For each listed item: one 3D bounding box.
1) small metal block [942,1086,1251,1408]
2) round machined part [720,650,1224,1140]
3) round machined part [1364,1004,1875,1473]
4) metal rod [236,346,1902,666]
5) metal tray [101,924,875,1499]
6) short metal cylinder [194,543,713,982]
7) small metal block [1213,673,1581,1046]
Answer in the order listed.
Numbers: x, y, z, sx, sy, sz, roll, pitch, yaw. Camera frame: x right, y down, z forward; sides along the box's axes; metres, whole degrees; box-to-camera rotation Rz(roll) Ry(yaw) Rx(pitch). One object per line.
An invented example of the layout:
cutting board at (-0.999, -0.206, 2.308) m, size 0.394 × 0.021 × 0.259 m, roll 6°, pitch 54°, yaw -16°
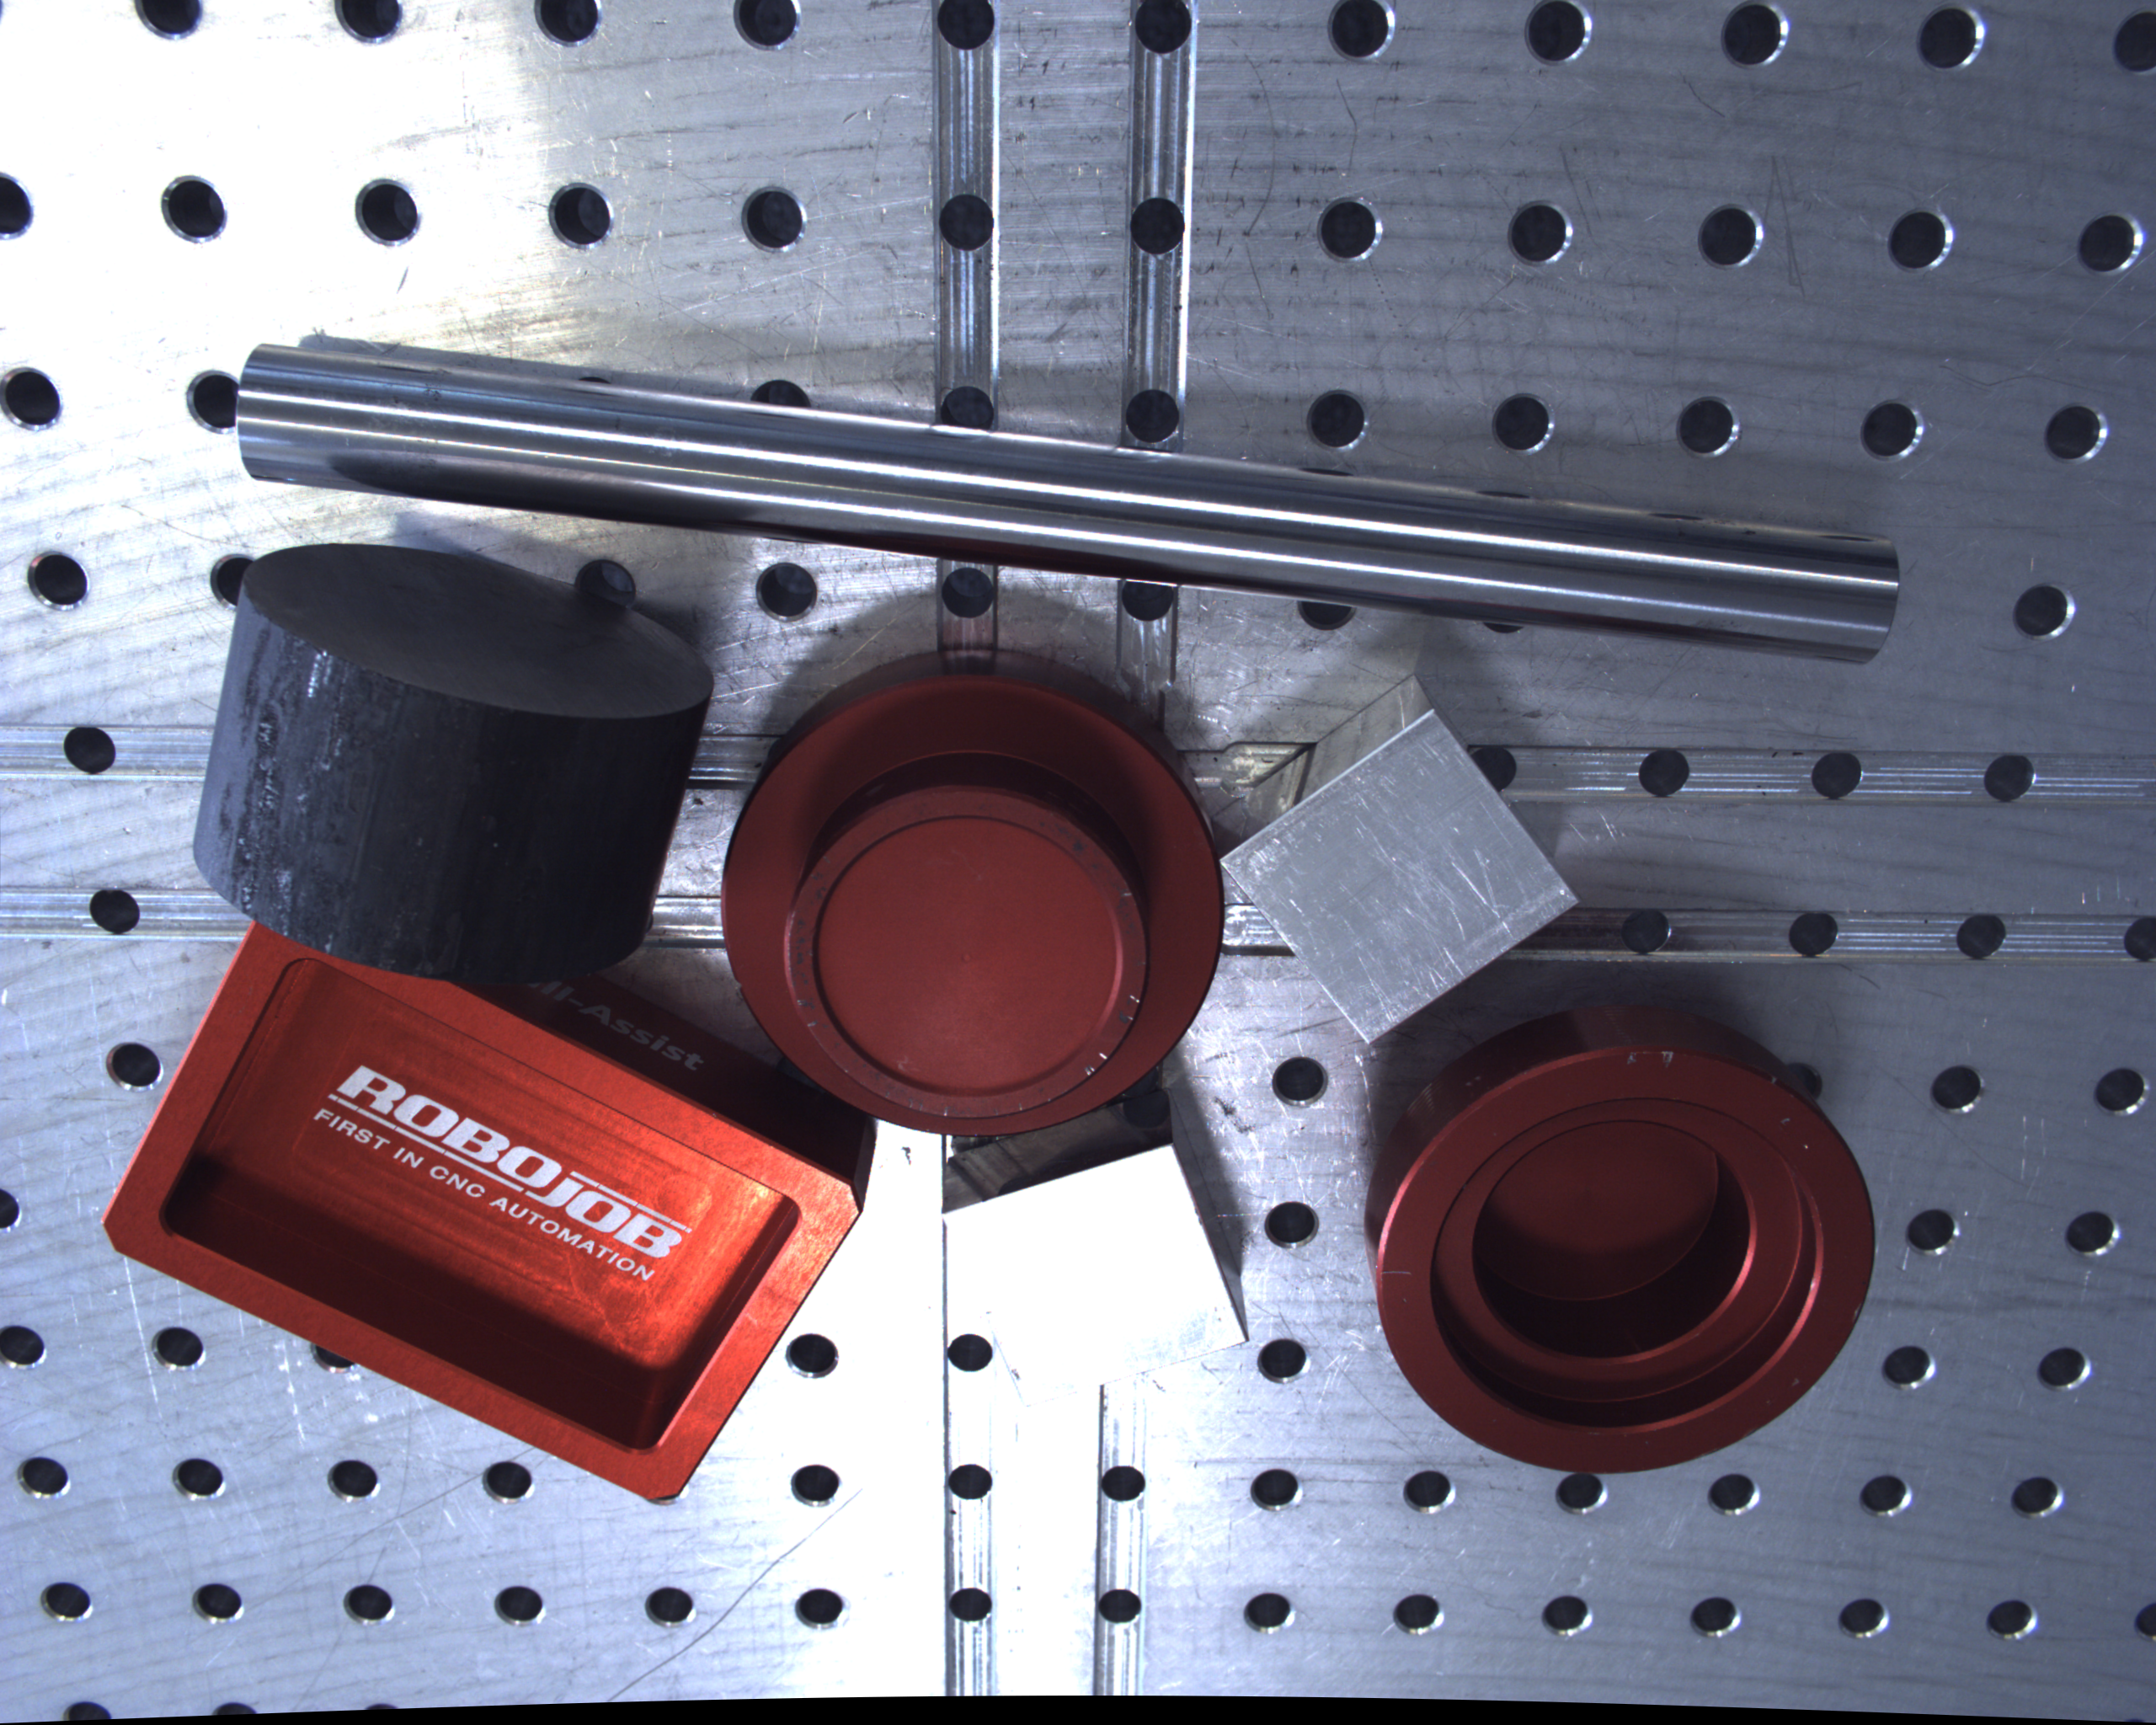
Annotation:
small metal block at (0.004, 0.082, 0.444) m, size 0.050 × 0.025 × 0.050 m, roll -18°, pitch 109°, yaw 6°
round machined part at (-0.021, 0.010, 0.407) m, size 0.099 × 0.042 × 0.097 m, roll 0°, pitch 107°, yaw 0°
round machined part at (0.108, 0.073, 0.432) m, size 0.099 × 0.042 × 0.097 m, roll 0°, pitch 110°, yaw 0°
metal rod at (0.001, -0.066, 0.388) m, size 0.302 × 0.025 × 0.025 m, roll 6°, pitch 110°, yaw -3°
metal tray at (-0.120, 0.066, 0.434) m, size 0.131 × 0.030 × 0.090 m, roll 29°, pitch 108°, yaw -10°
short metal cylinder at (-0.112, -0.020, 0.376) m, size 0.080 × 0.080 × 0.050 m, roll 17°, pitch 109°, yaw -6°
small metal block at (0.062, -0.001, 0.414) m, size 0.050 × 0.025 × 0.050 m, roll -36°, pitch 106°, yaw 12°
